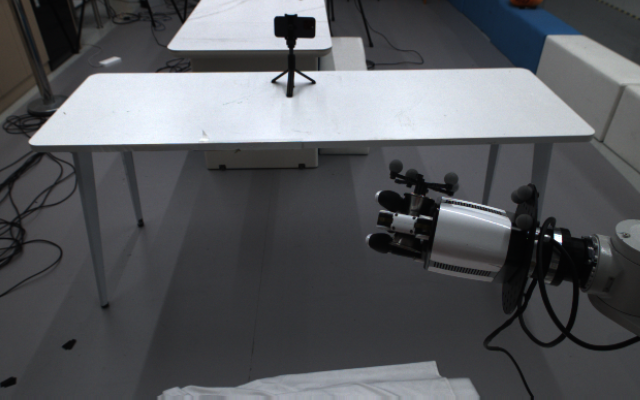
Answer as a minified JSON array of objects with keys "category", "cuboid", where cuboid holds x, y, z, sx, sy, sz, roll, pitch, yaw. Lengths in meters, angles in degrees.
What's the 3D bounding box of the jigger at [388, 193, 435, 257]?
[{"category":"jigger","cuboid":[0.120,0.028,0.615,0.043,0.071,0.043,16,-7,2]}]
